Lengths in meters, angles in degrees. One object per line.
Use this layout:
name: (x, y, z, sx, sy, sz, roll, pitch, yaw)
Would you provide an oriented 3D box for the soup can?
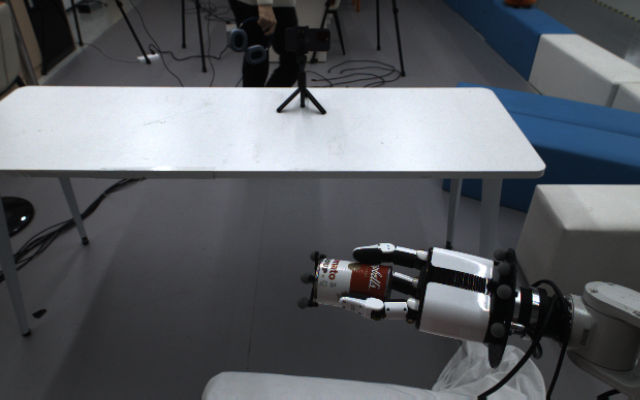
soup can: (0.052, 0.121, 0.690, 0.101, 0.067, 0.067, 5, 34, 13)
